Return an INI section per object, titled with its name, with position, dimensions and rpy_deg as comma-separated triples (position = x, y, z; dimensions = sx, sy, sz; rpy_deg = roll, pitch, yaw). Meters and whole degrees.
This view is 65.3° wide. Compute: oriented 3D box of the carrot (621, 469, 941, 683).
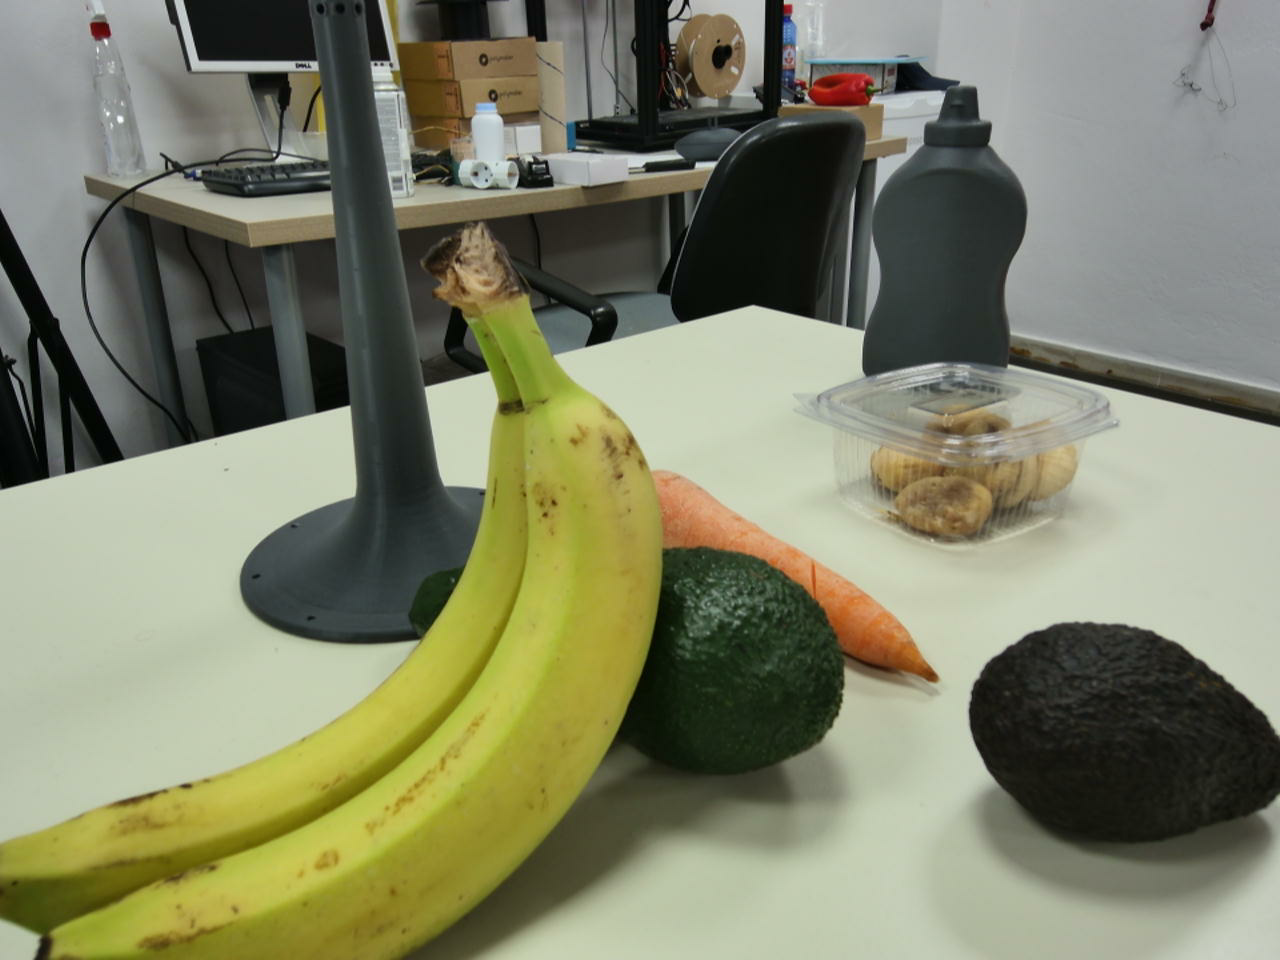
[carrot]
position = 0.060, 0.038, 0.467
dimensions = 0.039, 0.041, 0.196
rpy_deg = -17, 28, -36
